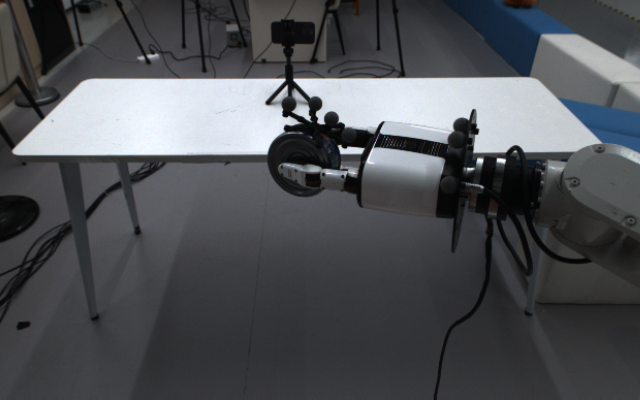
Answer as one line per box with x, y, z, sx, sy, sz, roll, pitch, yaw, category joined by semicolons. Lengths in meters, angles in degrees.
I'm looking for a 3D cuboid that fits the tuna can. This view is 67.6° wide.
-0.016;-0.042;0.586;0.085;0.085;0.034;15;31;18;tuna can
